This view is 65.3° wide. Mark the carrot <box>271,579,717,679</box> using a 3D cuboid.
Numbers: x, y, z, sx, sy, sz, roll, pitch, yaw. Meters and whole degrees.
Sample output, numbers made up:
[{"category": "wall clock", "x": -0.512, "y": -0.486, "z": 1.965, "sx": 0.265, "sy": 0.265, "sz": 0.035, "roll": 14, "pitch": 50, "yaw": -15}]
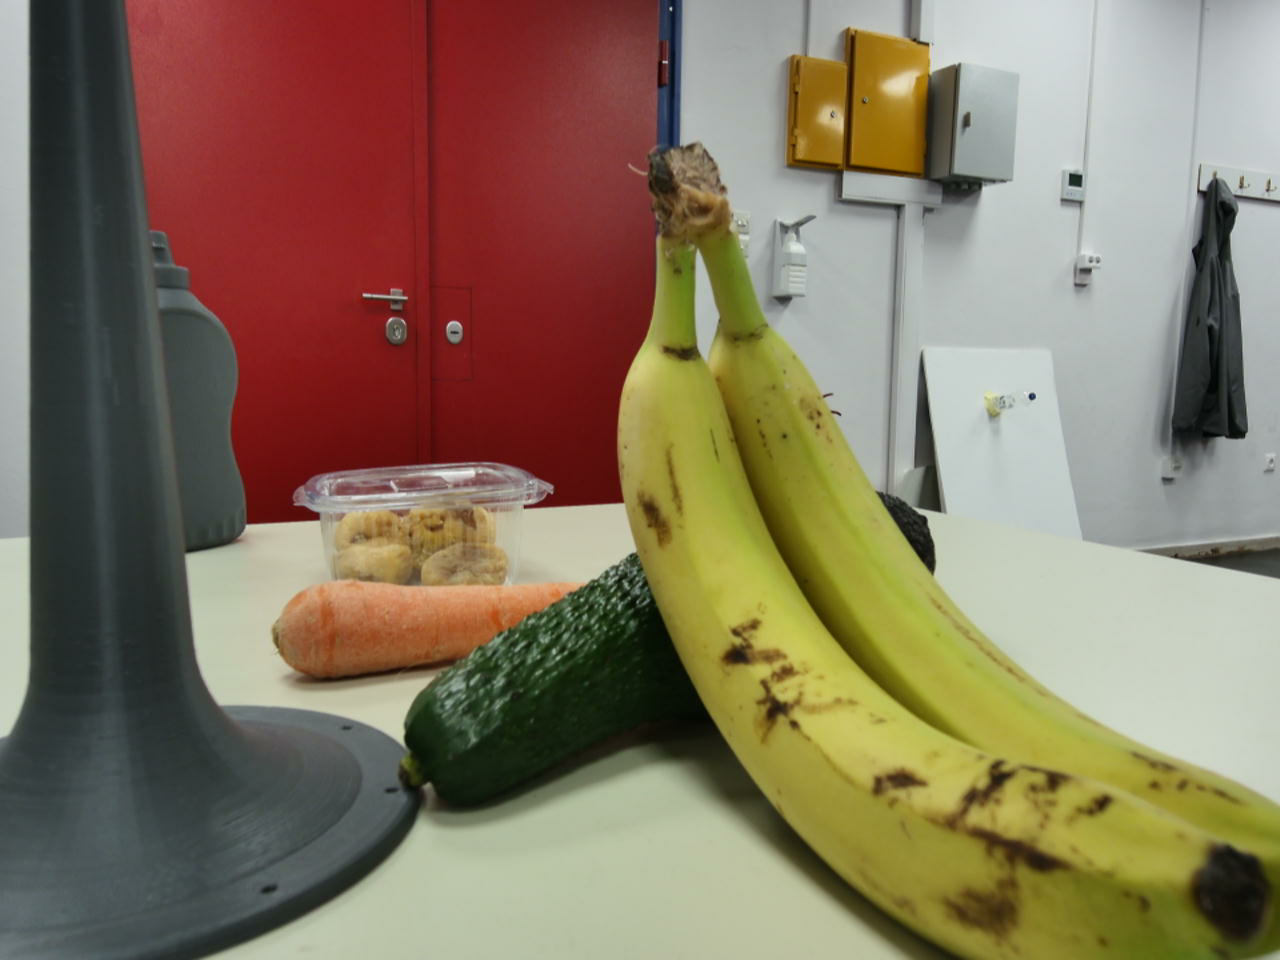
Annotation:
[{"category": "carrot", "x": -0.054, "y": 0.057, "z": 0.434, "sx": 0.196, "sy": 0.041, "sz": 0.039, "roll": -3, "pitch": 5, "yaw": -25}]
